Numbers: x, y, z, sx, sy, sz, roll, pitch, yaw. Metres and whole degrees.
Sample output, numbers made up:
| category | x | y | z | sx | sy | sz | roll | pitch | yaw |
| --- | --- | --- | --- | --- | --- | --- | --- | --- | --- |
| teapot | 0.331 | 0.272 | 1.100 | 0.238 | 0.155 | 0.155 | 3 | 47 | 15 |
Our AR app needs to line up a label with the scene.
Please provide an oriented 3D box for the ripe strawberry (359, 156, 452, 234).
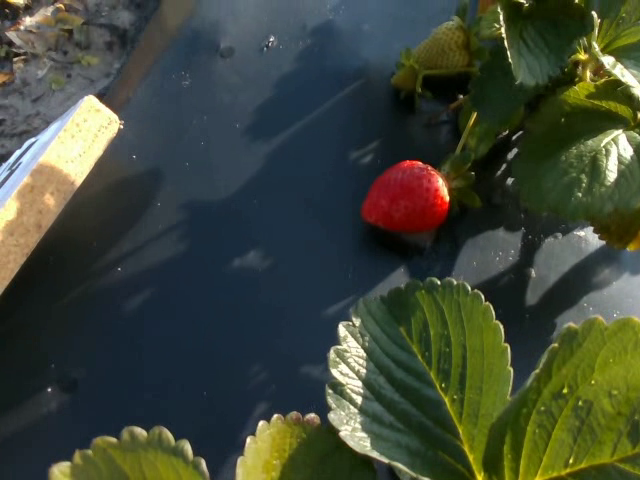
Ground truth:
| category | x | y | z | sx | sy | sz | roll | pitch | yaw |
| --- | --- | --- | --- | --- | --- | --- | --- | --- | --- |
| ripe strawberry | 0.032 | -0.014 | 0.243 | 0.044 | 0.033 | 0.030 | -20 | 22 | -13 |
